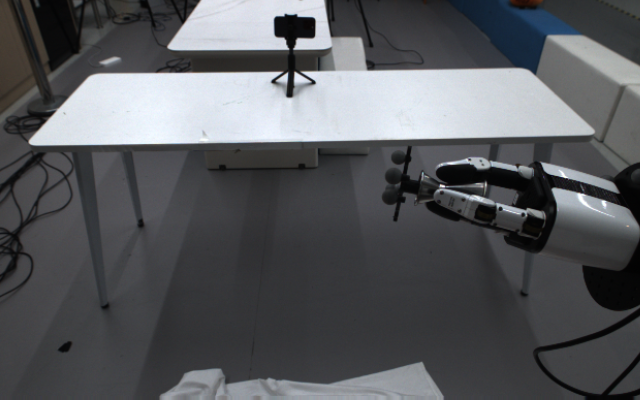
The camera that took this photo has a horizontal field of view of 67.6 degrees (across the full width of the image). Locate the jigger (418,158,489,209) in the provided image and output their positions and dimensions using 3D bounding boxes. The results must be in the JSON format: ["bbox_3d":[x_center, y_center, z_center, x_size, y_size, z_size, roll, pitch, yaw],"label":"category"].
[{"bbox_3d":[0.145,-0.015,0.529,0.071,0.043,0.043,9,35,8],"label":"jigger"}]
